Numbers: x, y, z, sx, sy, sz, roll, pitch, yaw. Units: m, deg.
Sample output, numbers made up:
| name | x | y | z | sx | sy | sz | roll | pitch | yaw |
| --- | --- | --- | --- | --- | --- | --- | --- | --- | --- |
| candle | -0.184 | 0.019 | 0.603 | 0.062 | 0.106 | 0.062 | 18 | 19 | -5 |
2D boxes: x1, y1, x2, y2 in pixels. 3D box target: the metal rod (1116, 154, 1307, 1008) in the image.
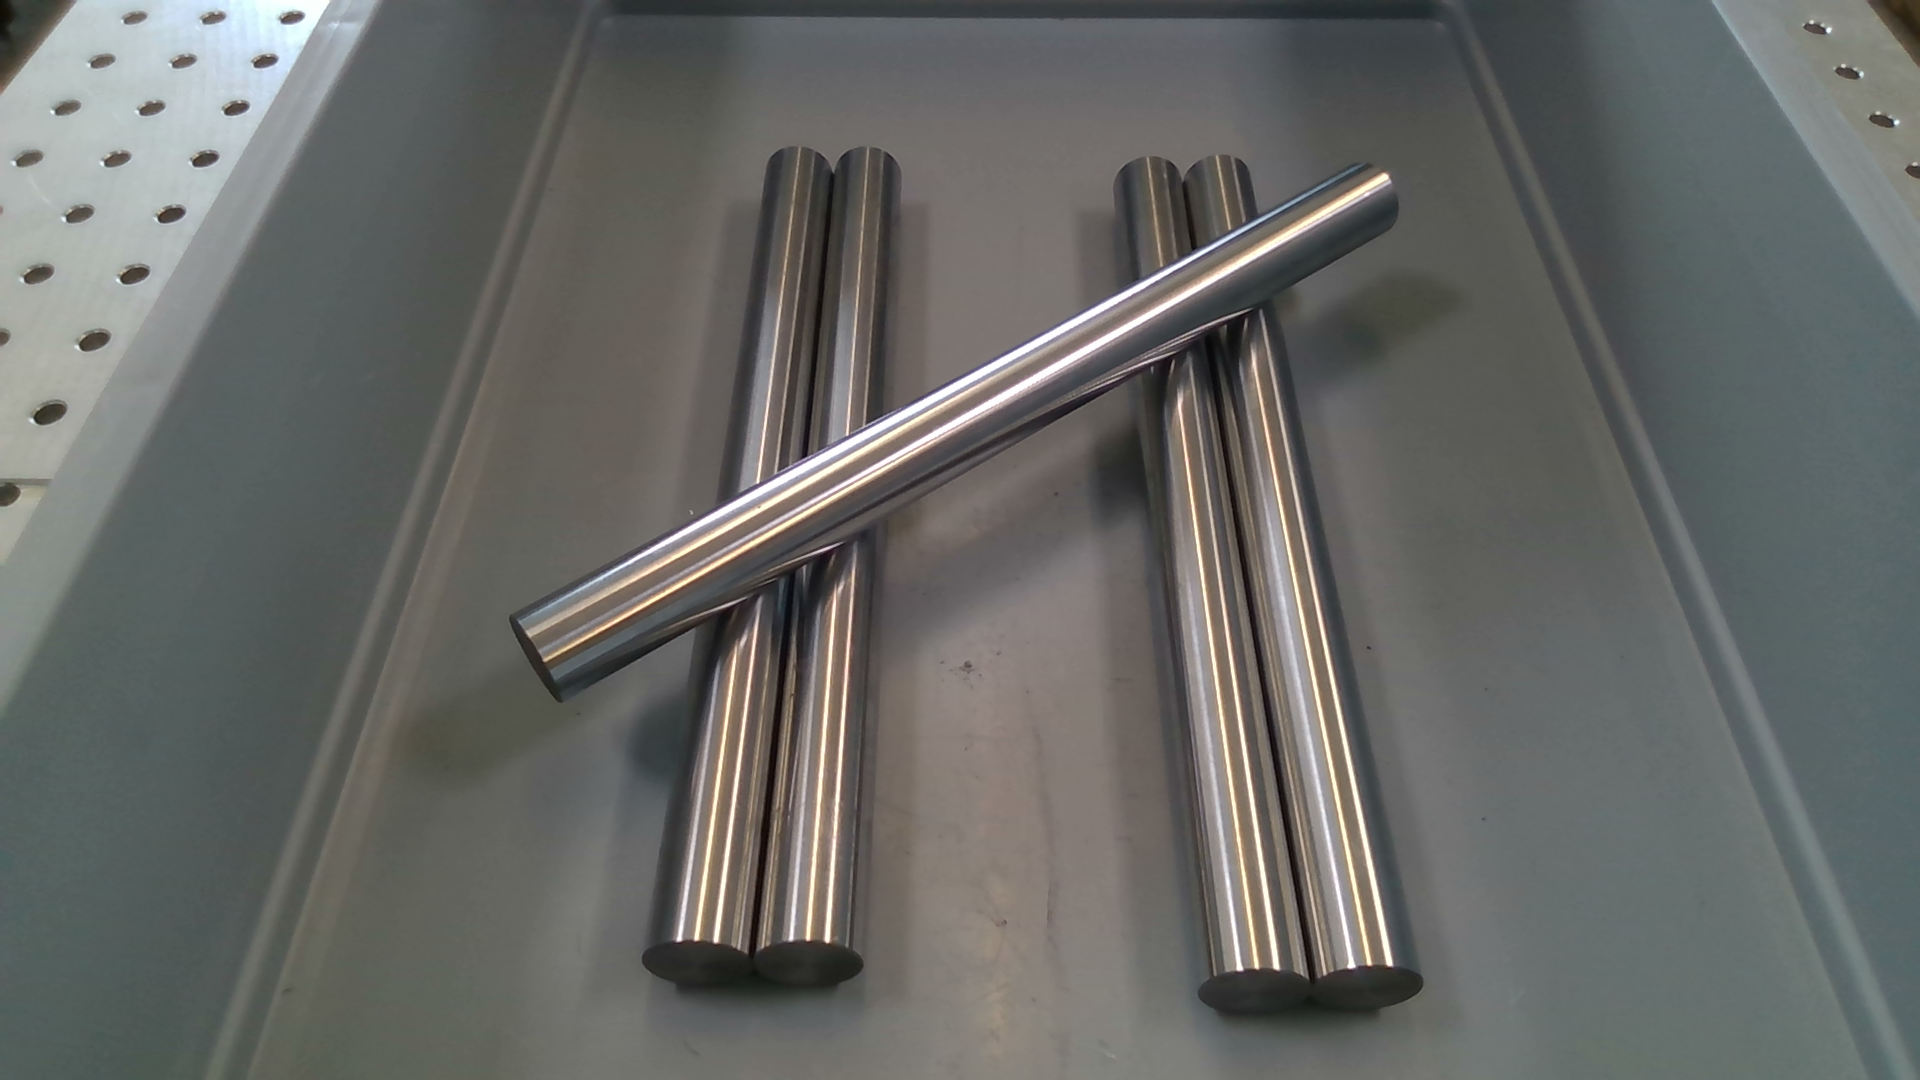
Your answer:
| name | x | y | z | sx | sy | sz | roll | pitch | yaw |
| --- | --- | --- | --- | --- | --- | --- | --- | --- | --- |
| metal rod | 0.066 | -0.015 | 0.404 | 0.025 | 0.025 | 0.299 | 0 | 50 | 0 |

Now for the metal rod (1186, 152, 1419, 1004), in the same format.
| name | x | y | z | sx | sy | sz | roll | pitch | yaw |
| --- | --- | --- | --- | --- | --- | --- | --- | --- | --- |
| metal rod | 0.092 | -0.015 | 0.405 | 0.025 | 0.025 | 0.299 | 0 | 50 | 0 |

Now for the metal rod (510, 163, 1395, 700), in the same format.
| name | x | y | z | sx | sy | sz | roll | pitch | yaw |
| --- | --- | --- | --- | --- | --- | --- | --- | --- | --- |
| metal rod | 0.015 | -0.042 | 0.395 | 0.300 | 0.025 | 0.025 | -31 | 57 | -23 |

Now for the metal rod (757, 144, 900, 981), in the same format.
| name | x | y | z | sx | sy | sz | roll | pitch | yaw |
| --- | --- | --- | --- | --- | --- | --- | --- | --- | --- |
| metal rod | -0.034 | -0.020 | 0.408 | 0.025 | 0.025 | 0.299 | 0 | 50 | 0 |

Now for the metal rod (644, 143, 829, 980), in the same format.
| name | x | y | z | sx | sy | sz | roll | pitch | yaw |
| --- | --- | --- | --- | --- | --- | --- | --- | --- | --- |
| metal rod | -0.059 | -0.020 | 0.408 | 0.025 | 0.025 | 0.299 | 0 | 50 | 0 |
